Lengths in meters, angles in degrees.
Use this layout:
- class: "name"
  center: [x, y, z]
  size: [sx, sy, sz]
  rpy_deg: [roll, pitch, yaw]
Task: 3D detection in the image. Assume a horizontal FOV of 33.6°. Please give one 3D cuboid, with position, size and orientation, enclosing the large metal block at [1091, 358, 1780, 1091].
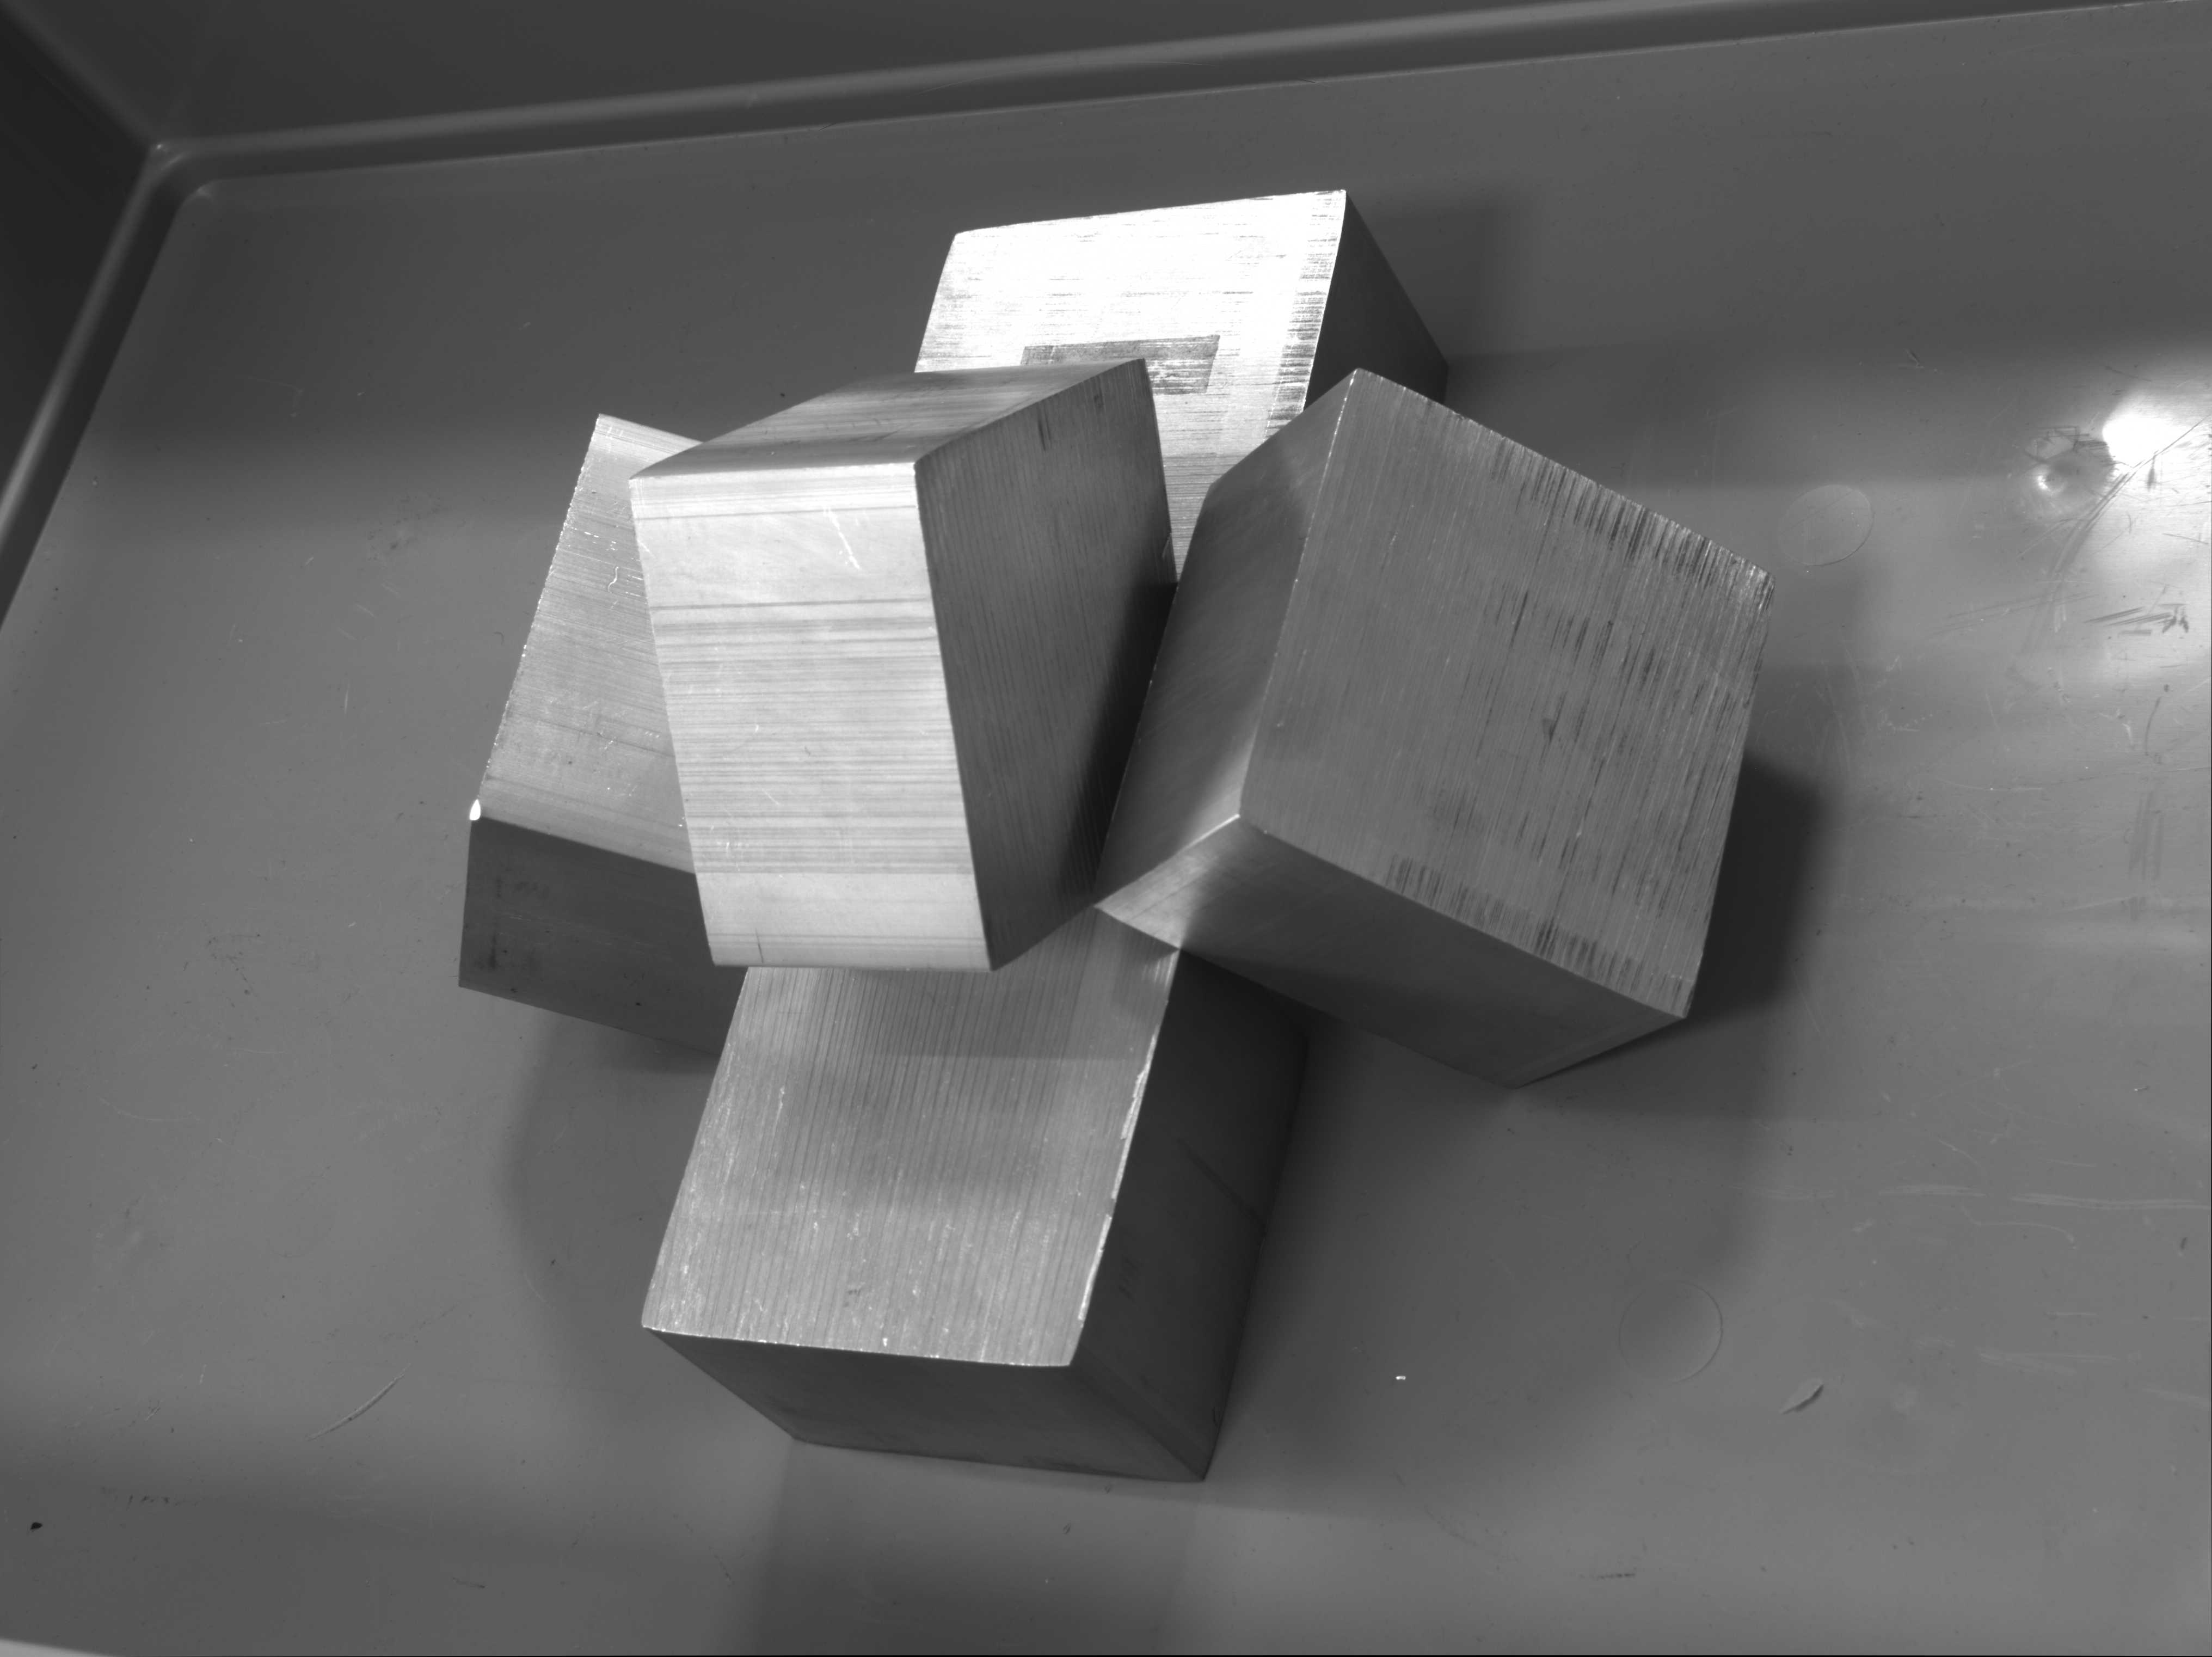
- class: "large metal block"
  center: [0.053, -0.015, 0.579]
  size: [0.050, 0.080, 0.080]
  rpy_deg: [-34, 37, 60]

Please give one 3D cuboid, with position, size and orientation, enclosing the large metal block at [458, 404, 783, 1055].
- class: "large metal block"
  center: [-0.078, -0.015, 0.650]
  size: [0.050, 0.080, 0.080]
  rpy_deg: [15, 65, -5]

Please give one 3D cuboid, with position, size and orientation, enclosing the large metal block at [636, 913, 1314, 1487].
- class: "large metal block"
  center: [-0.020, 0.058, 0.603]
  size: [0.080, 0.050, 0.080]
  rpy_deg: [1, 62, 29]

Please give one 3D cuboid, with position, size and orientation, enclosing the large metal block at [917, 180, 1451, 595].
- class: "large metal block"
  center: [0.010, -0.065, 0.659]
  size: [0.080, 0.050, 0.080]
  rpy_deg: [-2, 61, 28]

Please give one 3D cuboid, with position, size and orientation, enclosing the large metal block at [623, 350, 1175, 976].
- class: "large metal block"
  center: [-0.028, -0.028, 0.589]
  size: [0.050, 0.080, 0.080]
  rpy_deg: [0, 18, 27]
